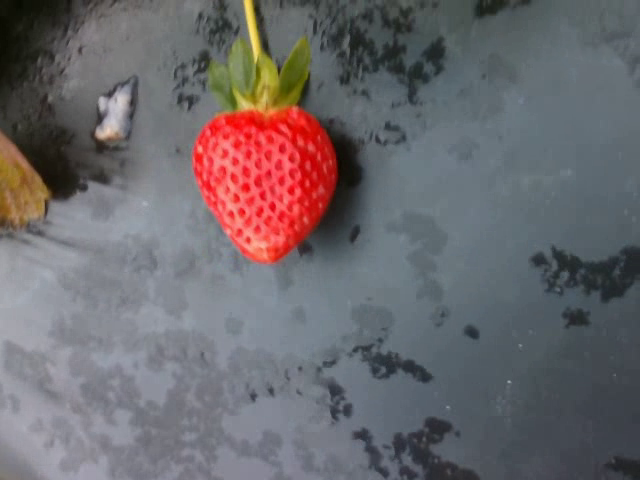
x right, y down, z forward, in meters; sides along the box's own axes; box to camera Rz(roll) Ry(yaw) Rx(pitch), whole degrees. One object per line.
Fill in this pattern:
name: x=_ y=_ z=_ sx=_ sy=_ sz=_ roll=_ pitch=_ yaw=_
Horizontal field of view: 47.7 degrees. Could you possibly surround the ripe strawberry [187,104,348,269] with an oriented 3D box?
ripe strawberry: x=-0.015 y=-0.016 z=0.213 sx=0.045 sy=0.054 sz=0.048 roll=-19 pitch=-32 yaw=39
